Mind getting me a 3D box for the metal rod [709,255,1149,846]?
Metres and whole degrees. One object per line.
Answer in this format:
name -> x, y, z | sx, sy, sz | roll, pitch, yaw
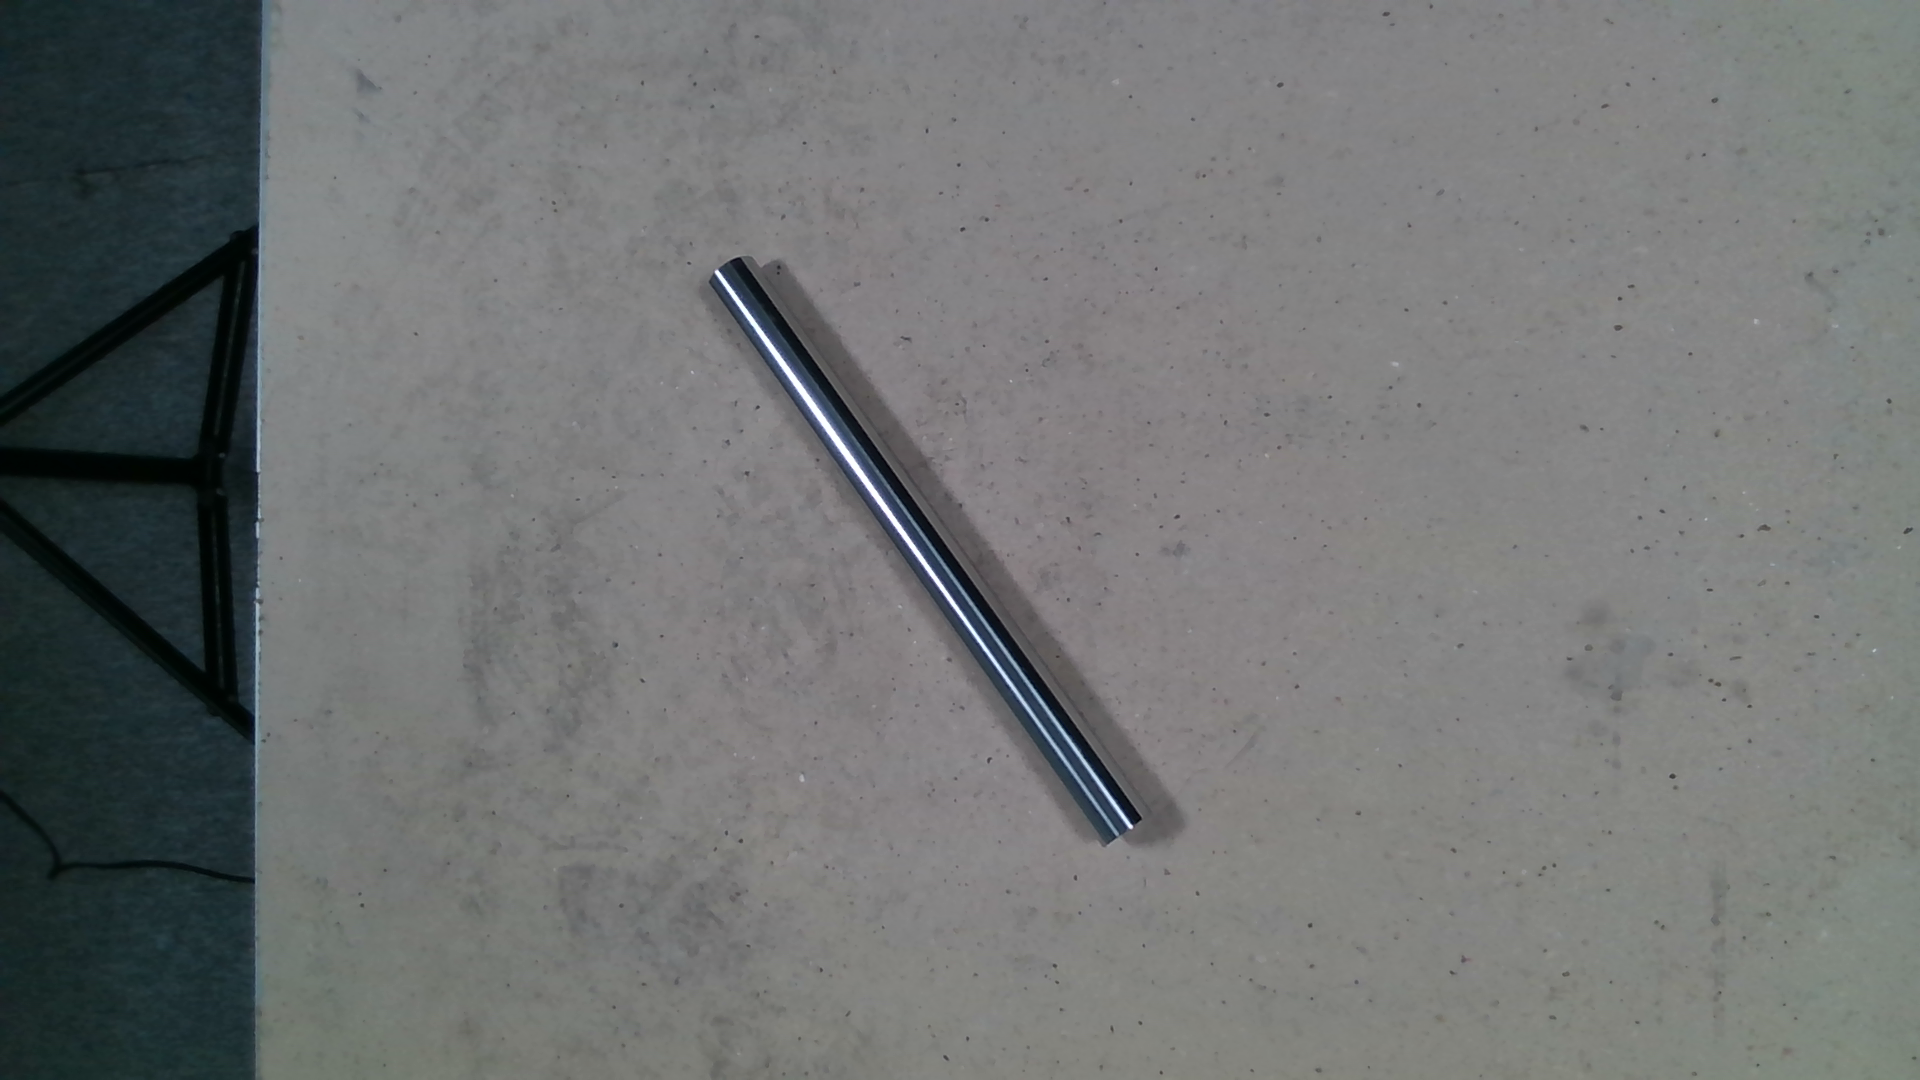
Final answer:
metal rod -> -0.017, -0.001, 0.592 | 0.025, 0.025, 0.300 | -39, 78, 16
